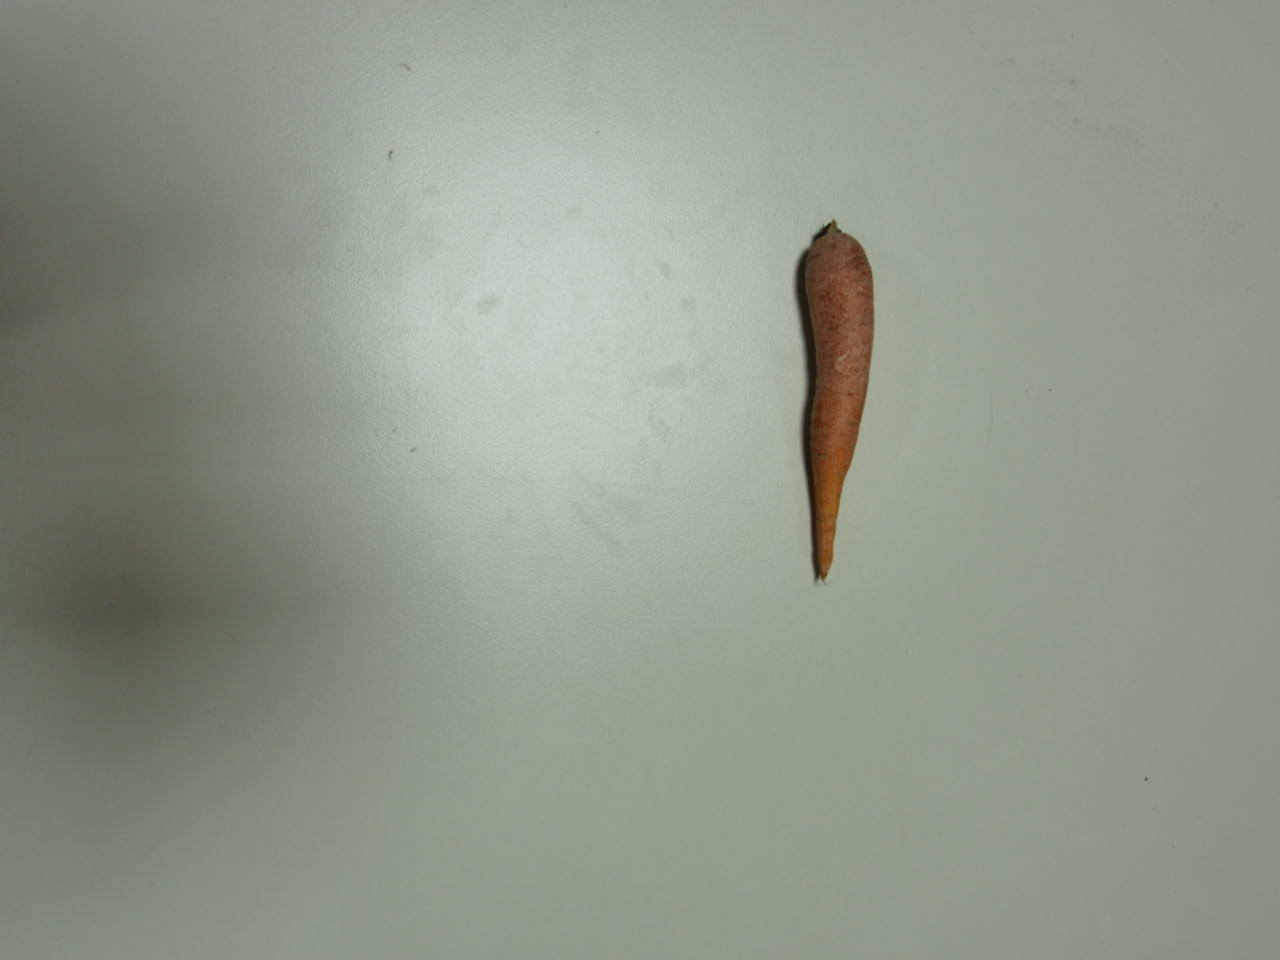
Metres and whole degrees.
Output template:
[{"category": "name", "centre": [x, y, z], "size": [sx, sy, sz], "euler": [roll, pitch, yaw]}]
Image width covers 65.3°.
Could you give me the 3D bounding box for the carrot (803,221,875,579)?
[{"category": "carrot", "centre": [0.092, -0.037, 0.461], "size": [0.031, 0.029, 0.163], "euler": [0, 91, -12]}]
